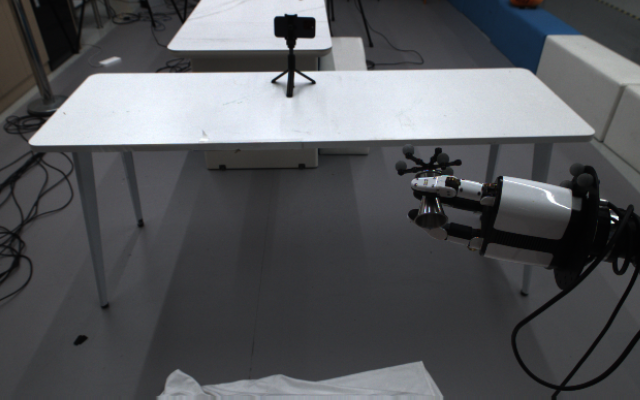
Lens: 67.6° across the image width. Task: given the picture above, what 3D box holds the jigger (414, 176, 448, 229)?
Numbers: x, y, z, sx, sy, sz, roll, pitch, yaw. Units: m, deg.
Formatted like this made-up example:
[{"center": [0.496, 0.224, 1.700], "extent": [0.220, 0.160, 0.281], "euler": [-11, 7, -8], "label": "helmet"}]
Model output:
[{"center": [0.147, -0.005, 0.651], "extent": [0.043, 0.043, 0.071], "euler": [4, 61, 3], "label": "jigger"}]
